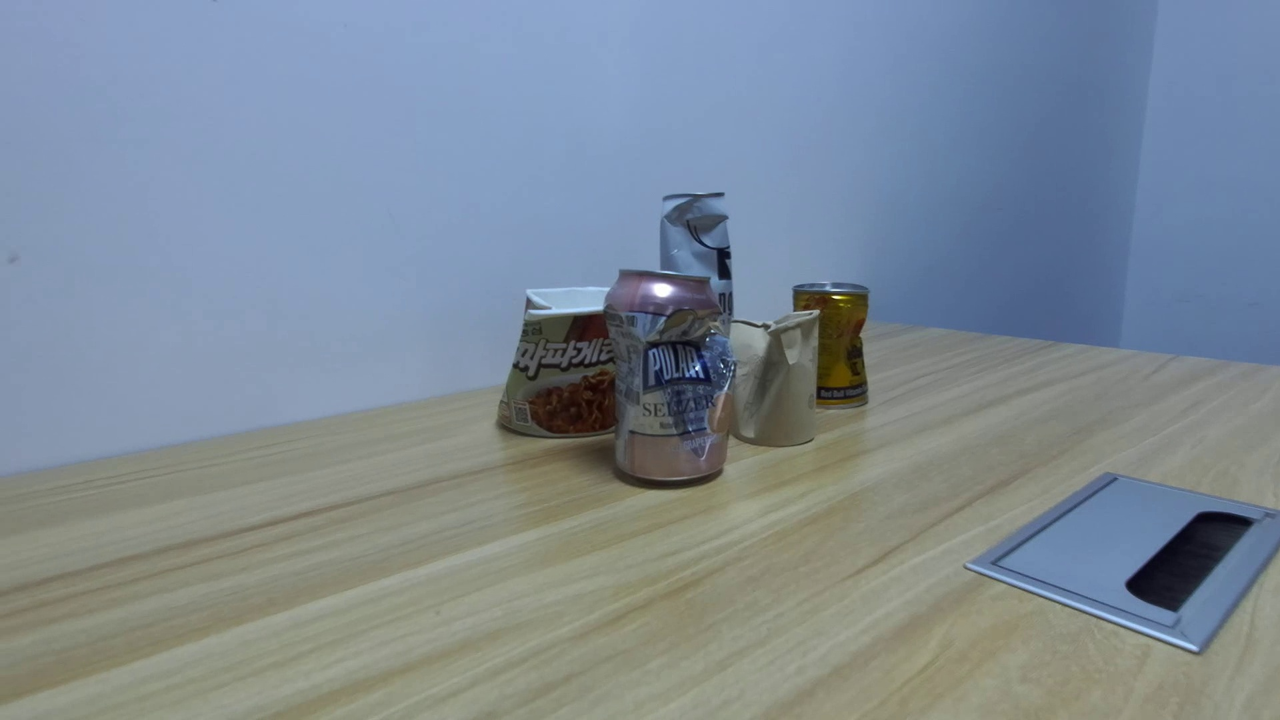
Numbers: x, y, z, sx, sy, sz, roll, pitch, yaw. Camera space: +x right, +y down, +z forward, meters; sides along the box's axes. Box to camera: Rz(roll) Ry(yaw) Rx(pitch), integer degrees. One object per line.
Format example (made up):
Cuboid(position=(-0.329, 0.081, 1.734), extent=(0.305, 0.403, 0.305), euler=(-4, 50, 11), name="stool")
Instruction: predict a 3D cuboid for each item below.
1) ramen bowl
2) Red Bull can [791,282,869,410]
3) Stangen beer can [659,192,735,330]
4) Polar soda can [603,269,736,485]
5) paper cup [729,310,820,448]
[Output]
Cuboid(position=(-0.052, 0.000, 0.523), extent=(0.111, 0.093, 0.128), euler=(1, 13, 11), name="ramen bowl")
Cuboid(position=(0.150, -0.013, 0.560), extent=(0.072, 0.092, 0.072), euler=(0, 12, 0), name="Red Bull can")
Cuboid(position=(0.049, -0.059, 0.614), extent=(0.066, 0.166, 0.066), euler=(-4, 10, -1), name="Stangen beer can")
Cuboid(position=(0.018, 0.009, 0.415), extent=(0.071, 0.121, 0.066), euler=(-4, 6, -25), name="Polar soda can")
Cuboid(position=(0.088, 0.012, 0.476), extent=(0.058, 0.083, 0.066), euler=(0, 10, 22), name="paper cup")
